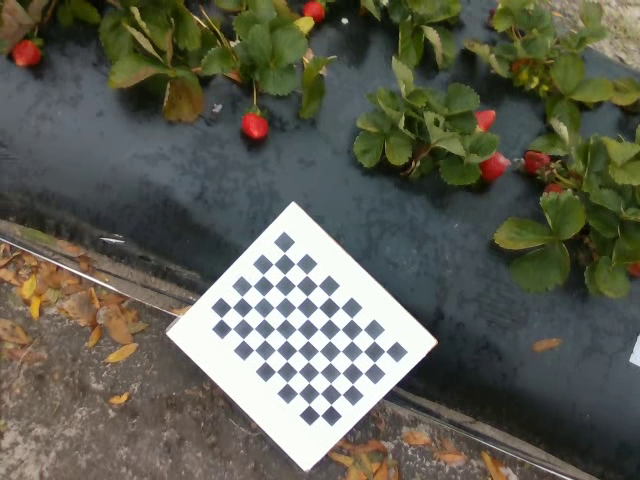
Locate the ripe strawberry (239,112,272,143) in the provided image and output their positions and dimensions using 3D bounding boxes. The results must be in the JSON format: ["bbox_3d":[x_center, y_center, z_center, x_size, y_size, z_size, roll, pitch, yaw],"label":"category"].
[{"bbox_3d":[-0.101,-0.180,1.111,0.045,0.048,0.054,-8,44,5],"label":"ripe strawberry"}]
